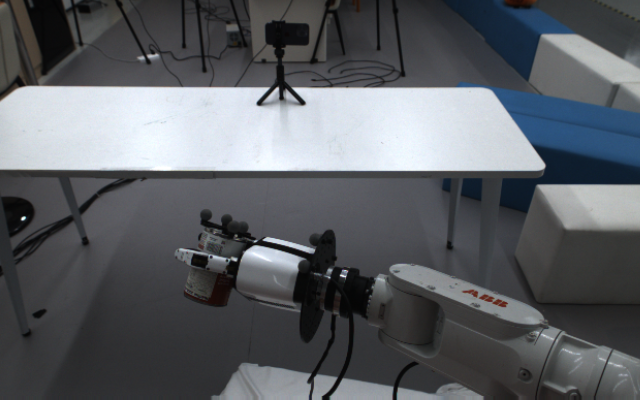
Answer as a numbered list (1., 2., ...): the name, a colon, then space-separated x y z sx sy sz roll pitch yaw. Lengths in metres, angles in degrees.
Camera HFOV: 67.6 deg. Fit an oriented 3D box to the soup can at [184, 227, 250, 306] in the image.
1. soup can: -0.151 0.098 0.706 0.067 0.101 0.067 18 -1 0
